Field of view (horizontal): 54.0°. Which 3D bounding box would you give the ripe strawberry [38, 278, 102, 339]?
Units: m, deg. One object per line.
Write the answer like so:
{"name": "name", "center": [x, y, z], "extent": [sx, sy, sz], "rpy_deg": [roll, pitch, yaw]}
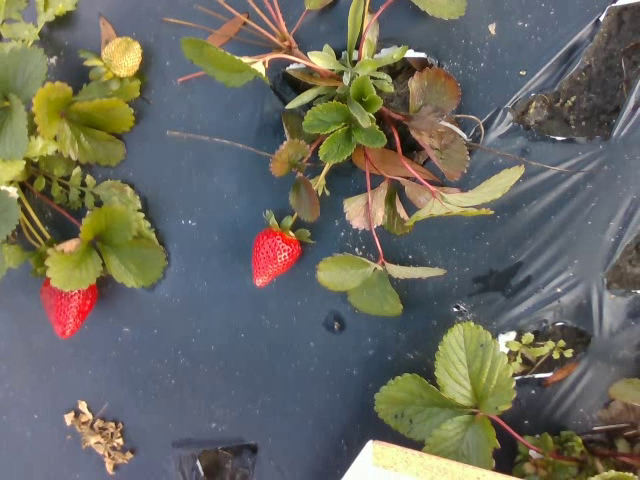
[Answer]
{"name": "ripe strawberry", "center": [-0.187, 0.050, 0.456], "extent": [0.050, 0.050, 0.046], "rpy_deg": [13, -33, -17]}

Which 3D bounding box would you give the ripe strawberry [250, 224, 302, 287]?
{"name": "ripe strawberry", "center": [-0.035, 0.016, 0.436], "extent": [0.044, 0.052, 0.041], "rpy_deg": [32, -13, -30]}
